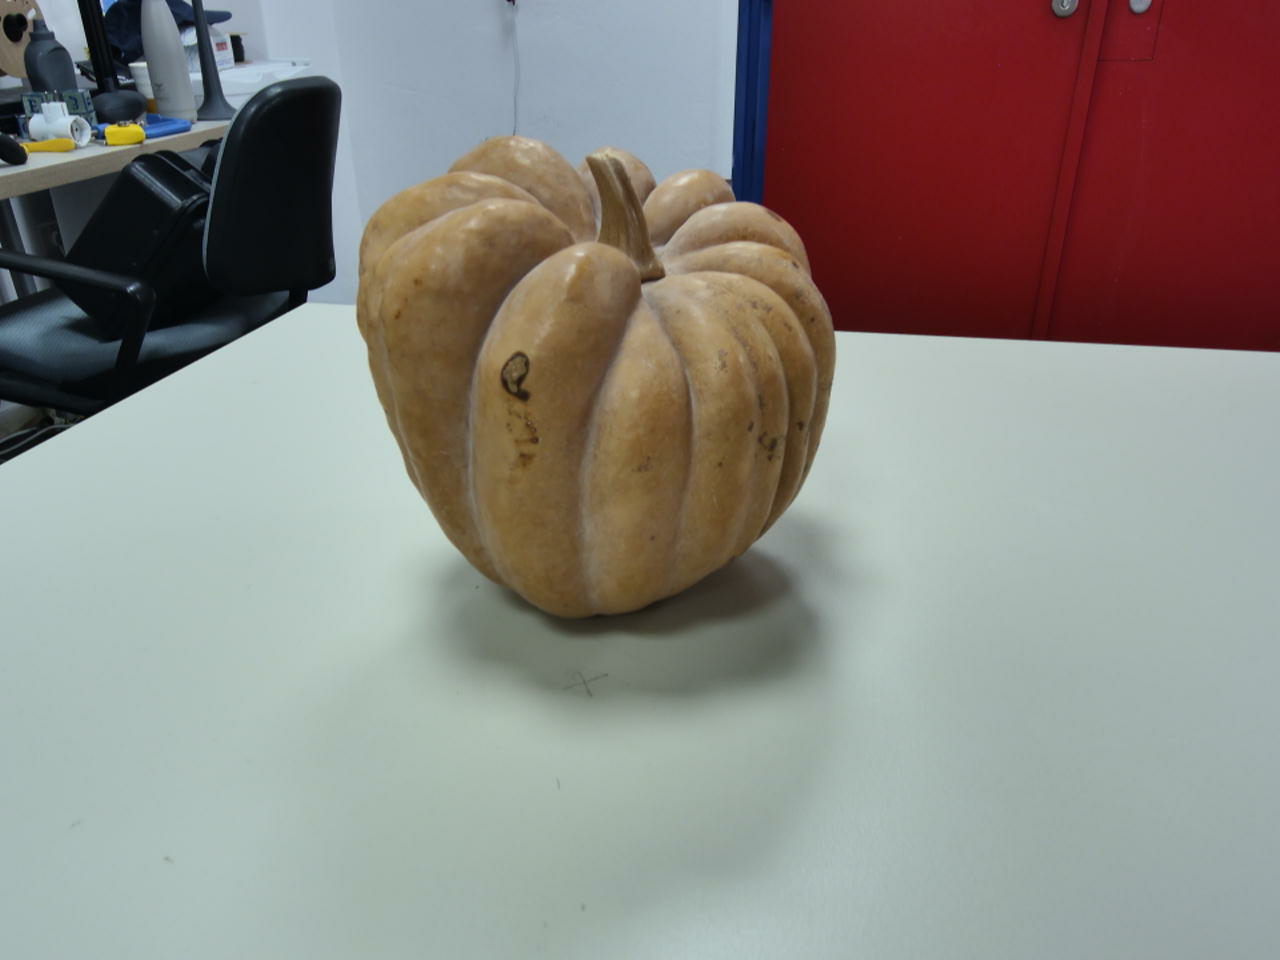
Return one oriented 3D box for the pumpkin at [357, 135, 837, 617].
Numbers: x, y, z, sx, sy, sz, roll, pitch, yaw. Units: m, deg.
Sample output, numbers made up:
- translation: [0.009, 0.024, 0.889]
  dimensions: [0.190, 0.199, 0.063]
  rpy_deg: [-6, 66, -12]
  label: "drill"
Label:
- translation: [-0.017, -0.043, 0.407]
  dimensions: [0.199, 0.177, 0.198]
  rpy_deg: [0, 24, 0]
  label: "pumpkin"
